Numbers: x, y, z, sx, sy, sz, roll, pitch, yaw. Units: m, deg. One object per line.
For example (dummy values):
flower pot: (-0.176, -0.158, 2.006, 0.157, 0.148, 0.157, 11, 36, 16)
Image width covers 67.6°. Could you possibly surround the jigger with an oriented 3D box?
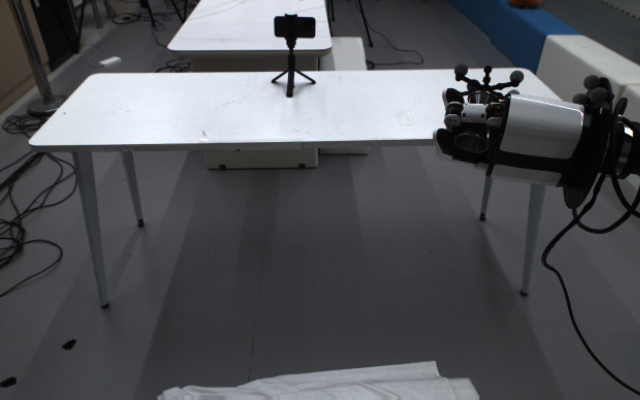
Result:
jigger: (0.205, -0.101, 0.622, 0.043, 0.043, 0.071, 13, 69, 15)
